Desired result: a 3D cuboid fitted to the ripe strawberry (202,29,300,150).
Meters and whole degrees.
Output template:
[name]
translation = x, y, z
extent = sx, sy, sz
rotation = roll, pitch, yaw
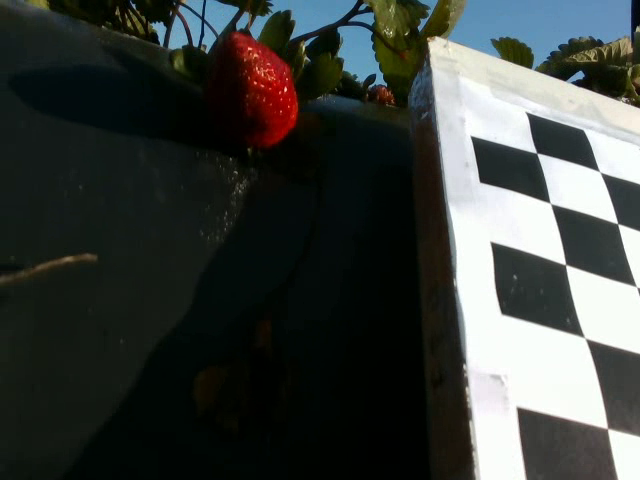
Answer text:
[ripe strawberry]
translation = -0.008, -0.018, 0.070
extent = 0.015, 0.015, 0.022
rotation = 21, -6, -5
